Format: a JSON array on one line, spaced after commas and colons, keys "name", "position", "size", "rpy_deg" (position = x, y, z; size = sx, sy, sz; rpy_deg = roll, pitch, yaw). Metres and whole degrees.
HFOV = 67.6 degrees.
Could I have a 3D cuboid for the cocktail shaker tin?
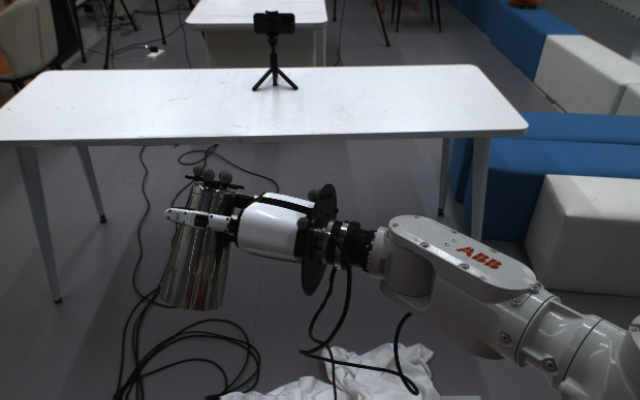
[{"name": "cocktail shaker tin", "position": [-0.172, 0.063, 0.713], "size": [0.093, 0.170, 0.093], "rpy_deg": [13, 3, -1]}]
